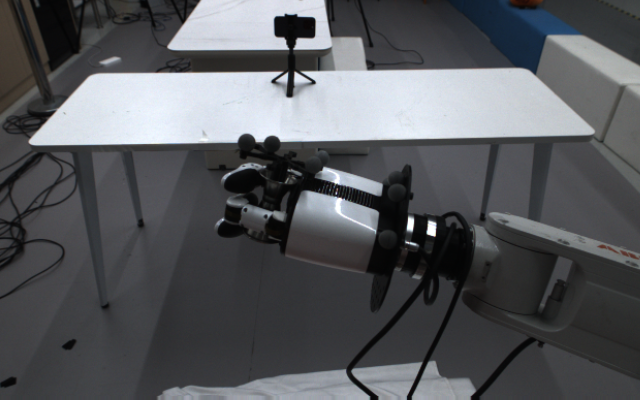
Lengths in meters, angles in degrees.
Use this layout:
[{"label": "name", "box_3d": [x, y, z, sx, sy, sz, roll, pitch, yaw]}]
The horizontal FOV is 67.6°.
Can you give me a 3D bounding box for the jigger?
[{"label": "jigger", "box_3d": [-0.049, 0.007, 0.514, 0.043, 0.071, 0.043, 15, 17, -5]}]
